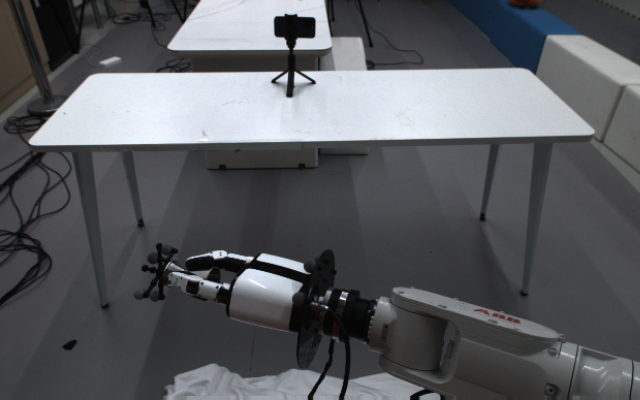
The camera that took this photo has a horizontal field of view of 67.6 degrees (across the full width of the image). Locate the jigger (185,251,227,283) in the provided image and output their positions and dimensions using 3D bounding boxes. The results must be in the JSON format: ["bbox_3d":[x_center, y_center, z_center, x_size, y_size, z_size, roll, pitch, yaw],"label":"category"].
[{"bbox_3d":[-0.176,0.107,0.685,0.071,0.043,0.043,7,35,15],"label":"jigger"}]
